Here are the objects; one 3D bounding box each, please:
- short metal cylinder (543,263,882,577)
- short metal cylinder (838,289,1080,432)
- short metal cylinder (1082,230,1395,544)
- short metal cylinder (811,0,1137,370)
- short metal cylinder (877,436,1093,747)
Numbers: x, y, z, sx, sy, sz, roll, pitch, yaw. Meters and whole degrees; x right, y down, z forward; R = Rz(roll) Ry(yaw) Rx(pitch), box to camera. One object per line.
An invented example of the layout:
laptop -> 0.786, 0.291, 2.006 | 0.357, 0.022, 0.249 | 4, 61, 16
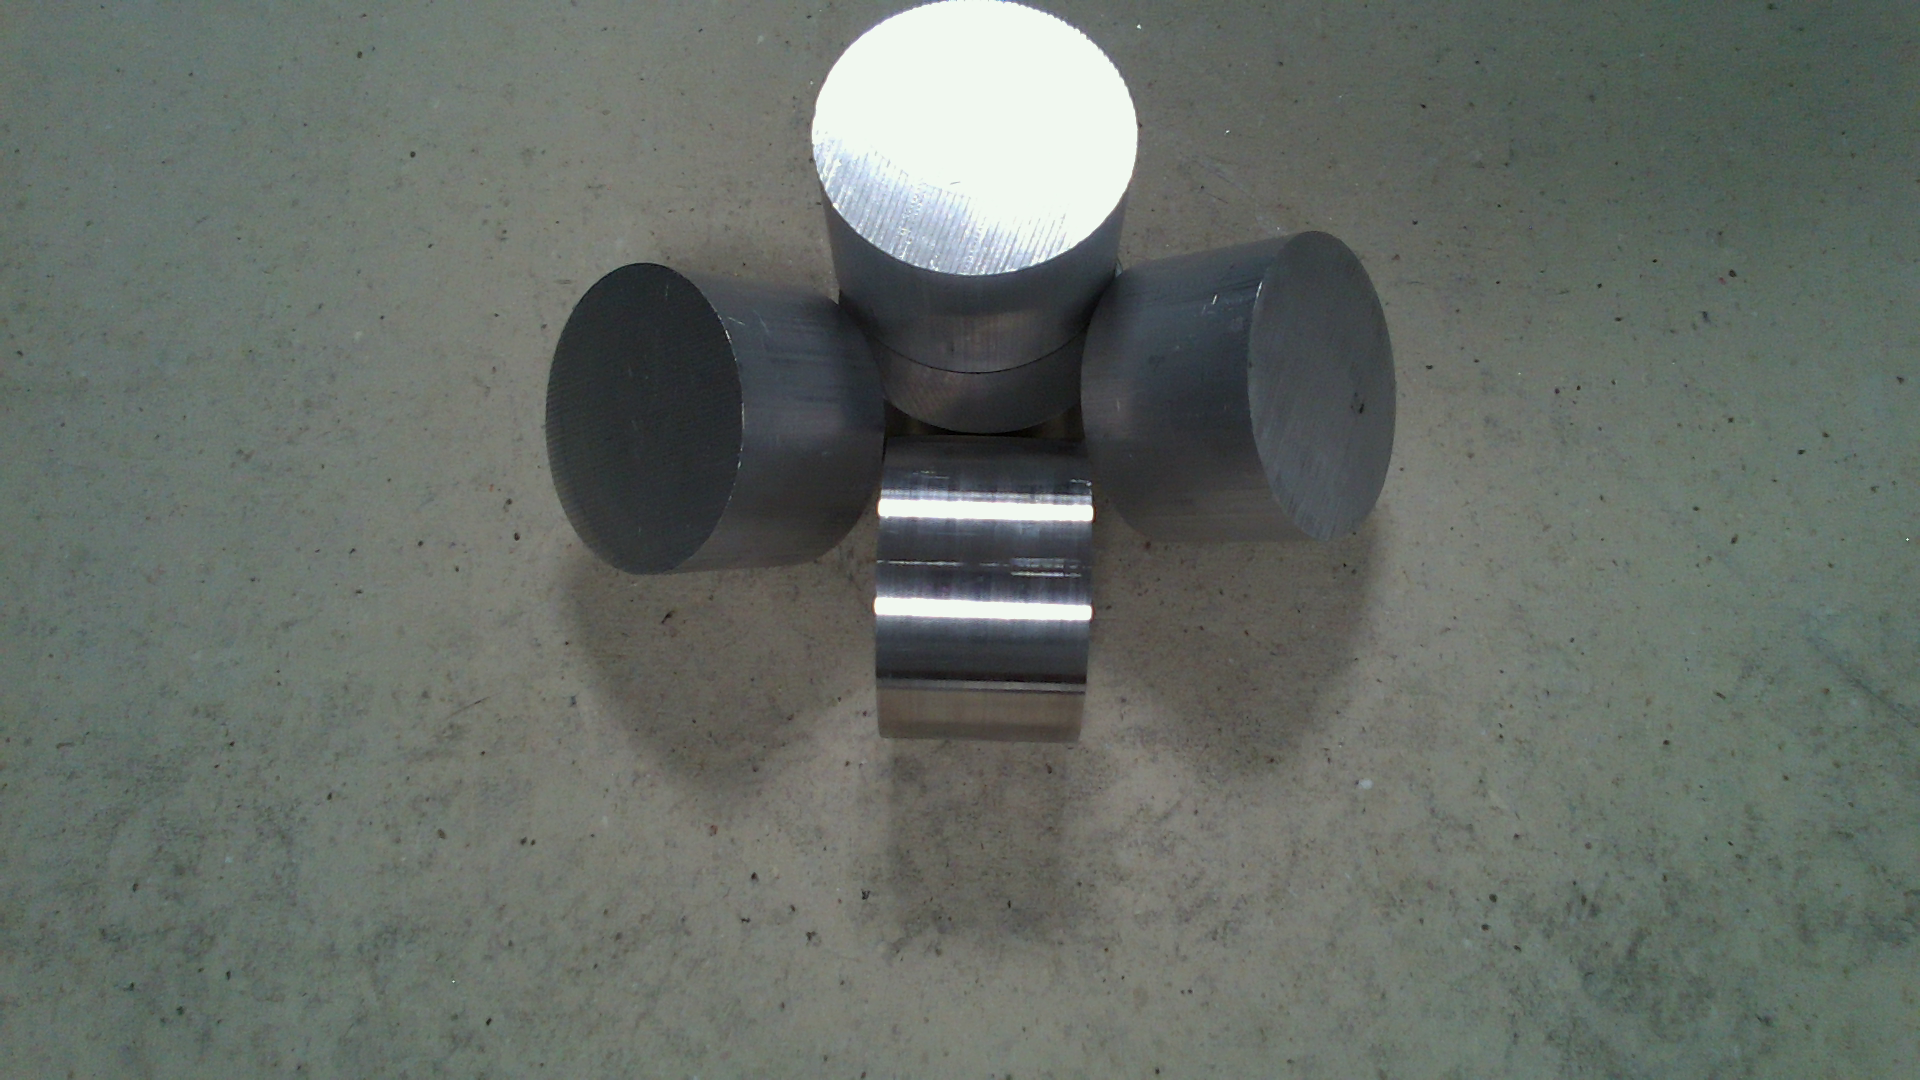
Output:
short metal cylinder -> -0.068, -0.031, 0.371 | 0.080, 0.050, 0.080 | 2, 93, 39
short metal cylinder -> 0.006, -0.057, 0.403 | 0.080, 0.050, 0.080 | 0, 70, 0
short metal cylinder -> 0.077, -0.039, 0.374 | 0.050, 0.080, 0.080 | -2, 64, 41
short metal cylinder -> 0.004, -0.092, 0.361 | 0.080, 0.050, 0.080 | 0, 70, 0
short metal cylinder -> 0.006, 0.013, 0.360 | 0.050, 0.080, 0.080 | 1, 70, 1
